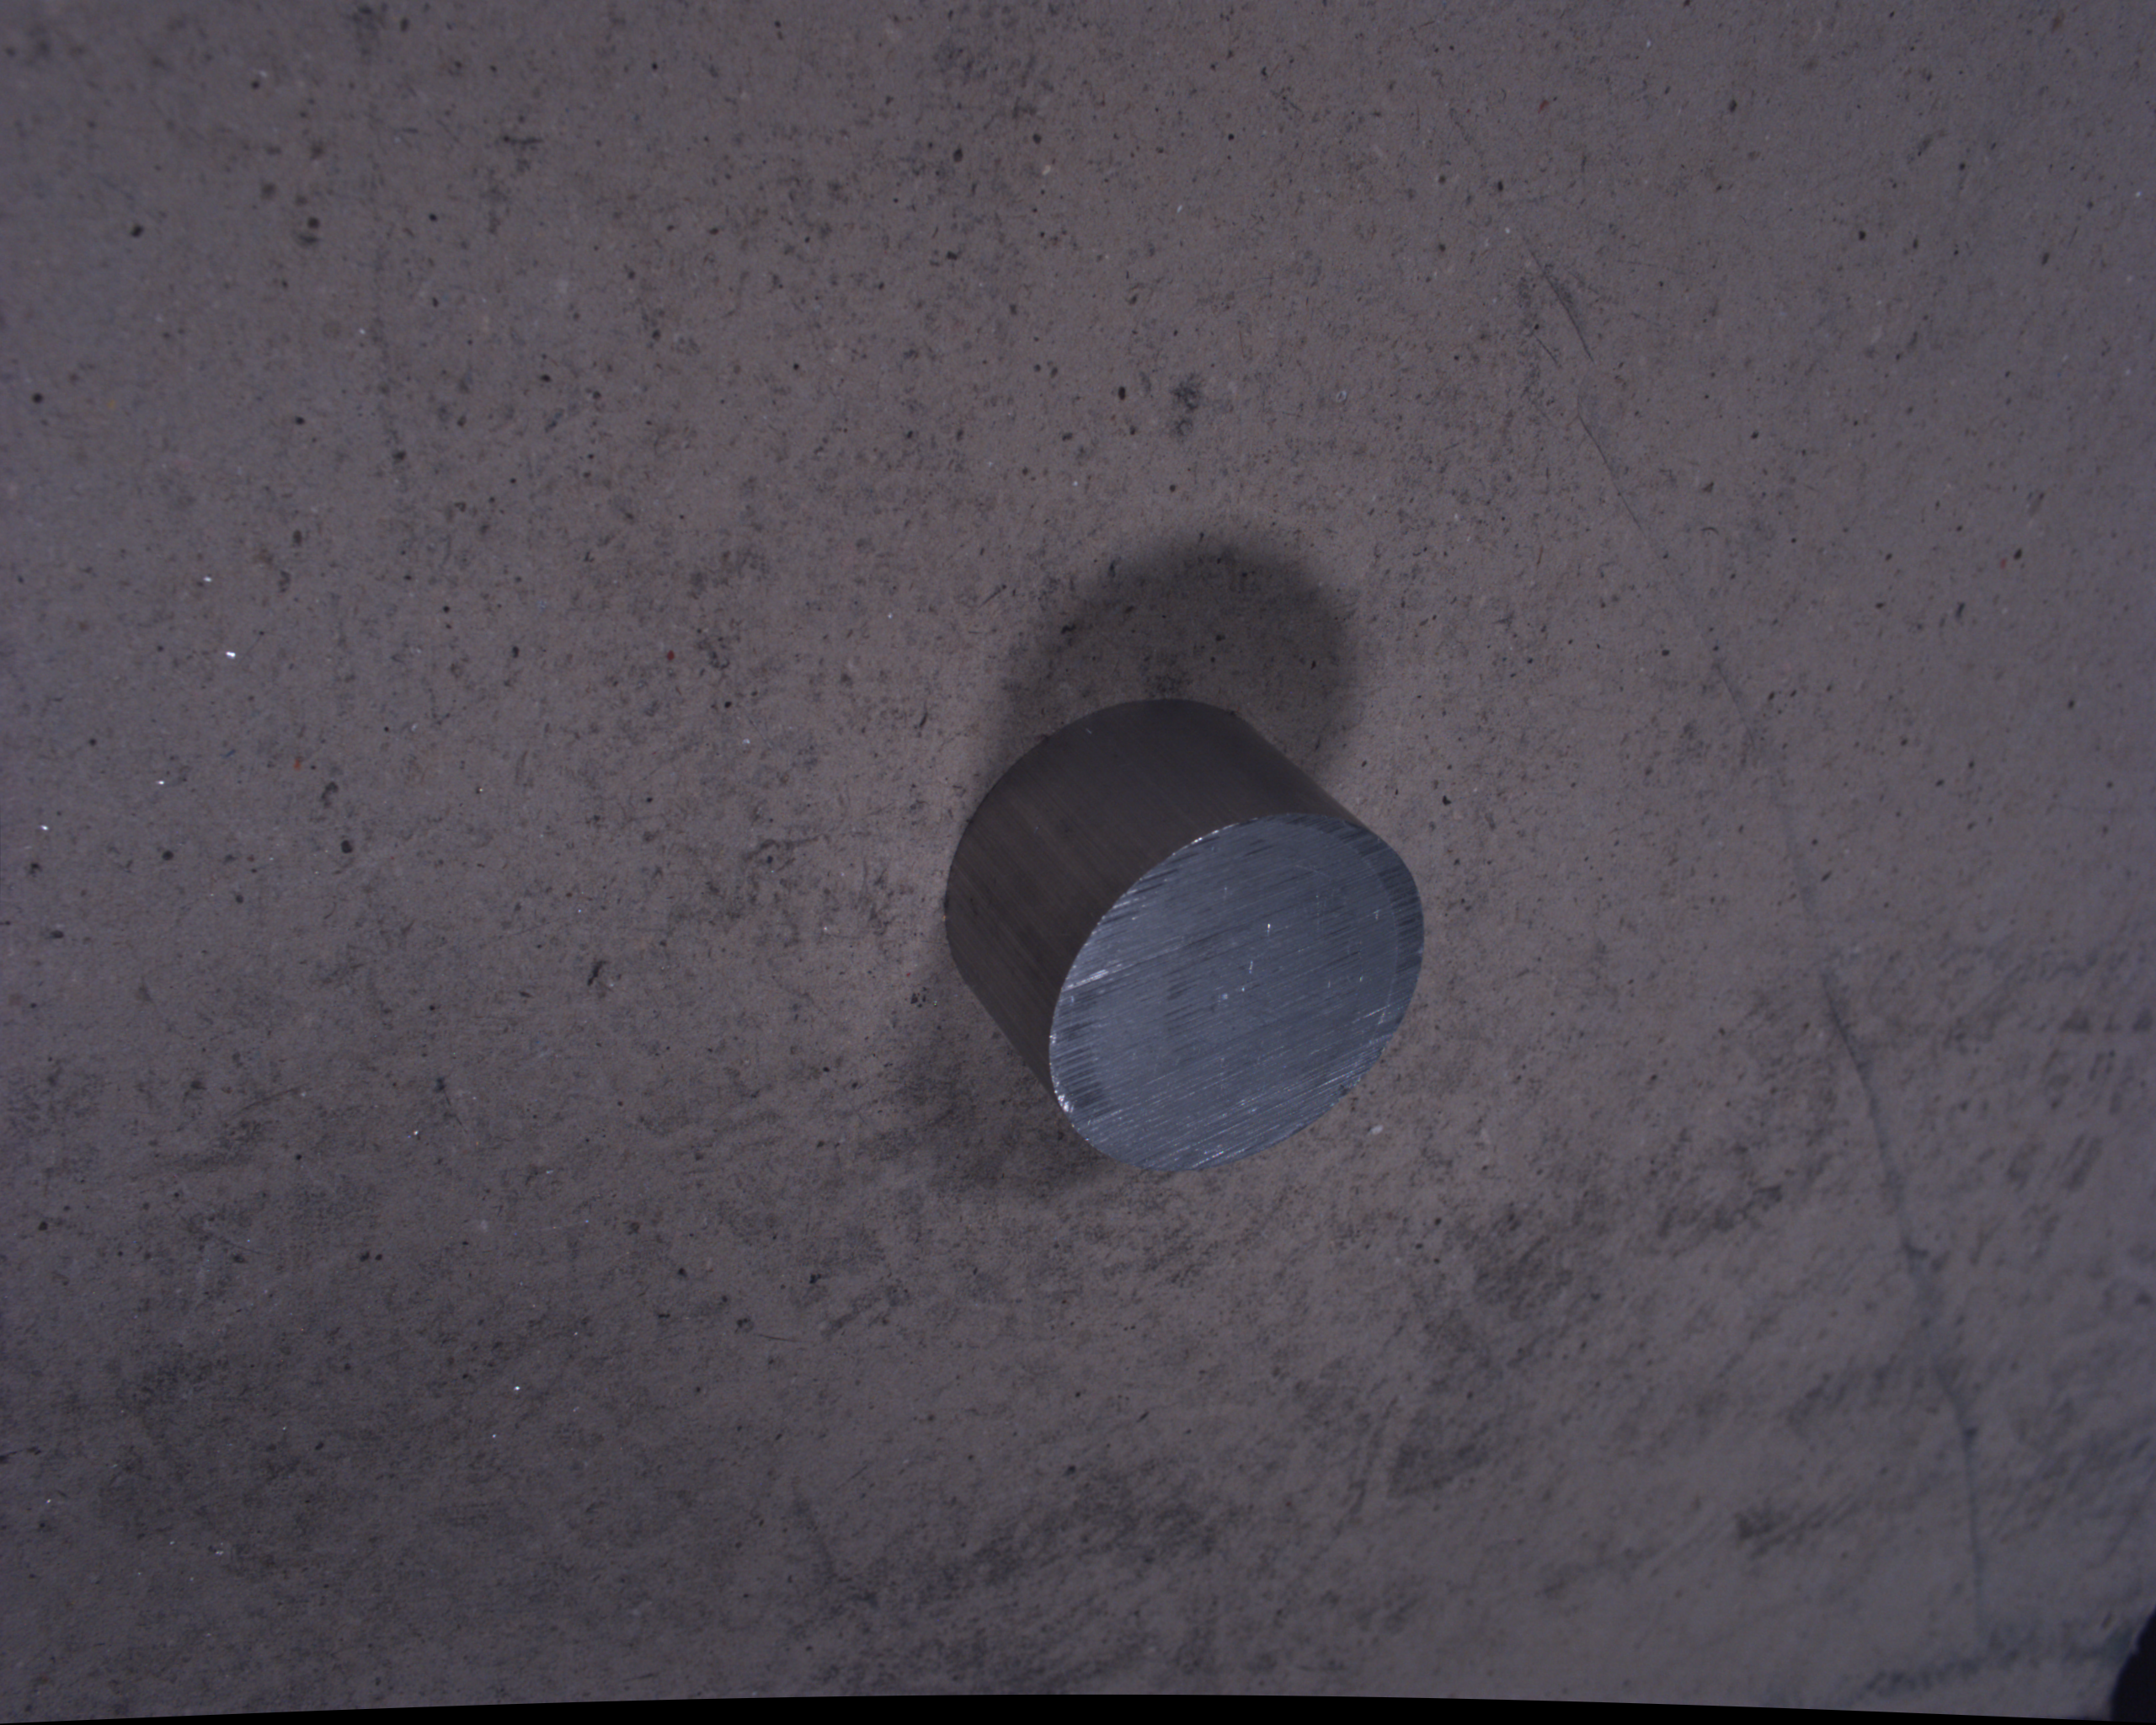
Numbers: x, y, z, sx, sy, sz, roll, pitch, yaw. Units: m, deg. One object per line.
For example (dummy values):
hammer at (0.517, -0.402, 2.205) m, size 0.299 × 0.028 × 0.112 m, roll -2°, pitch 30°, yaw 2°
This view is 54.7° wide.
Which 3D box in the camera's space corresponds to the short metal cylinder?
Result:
short metal cylinder at (0.021, 0.014, 0.414) m, size 0.081 × 0.050 × 0.079 m, roll -14°, pitch 125°, yaw -21°
